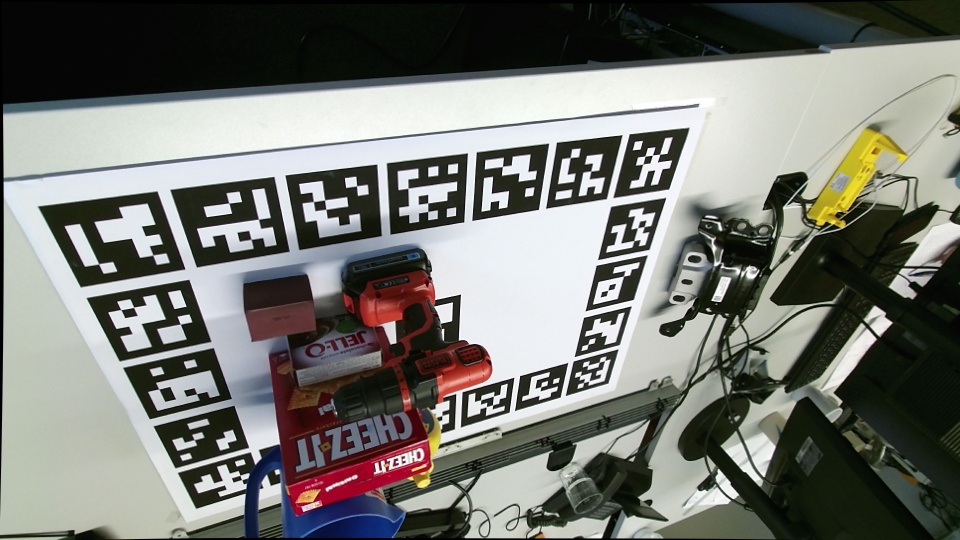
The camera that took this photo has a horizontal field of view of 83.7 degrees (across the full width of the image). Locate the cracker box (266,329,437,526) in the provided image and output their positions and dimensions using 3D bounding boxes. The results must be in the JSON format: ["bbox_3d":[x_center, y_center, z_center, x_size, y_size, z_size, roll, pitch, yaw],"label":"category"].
[{"bbox_3d":[-0.169,0.184,0.682,0.165,0.213,0.072,-14,130,-21],"label":"cracker box"}]

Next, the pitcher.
[{"bbox_3d":[-0.216,0.279,0.720,0.189,0.241,0.133,-7,126,-26],"label":"pitcher"}]

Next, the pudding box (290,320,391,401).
[{"bbox_3d":[-0.180,0.114,0.697,0.114,0.089,0.038,-12,129,-23],"label":"pudding box"}]

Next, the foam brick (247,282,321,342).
[{"bbox_3d":[-0.243,0.054,0.664,0.078,0.051,0.053,-9,125,-22],"label":"foam brick"}]

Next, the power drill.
[{"bbox_3d":[-0.093,0.089,0.632,0.185,0.186,0.057,-12,131,-19],"label":"power drill"}]

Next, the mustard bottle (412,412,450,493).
[{"bbox_3d":[-0.098,0.249,0.775,0.096,0.191,0.058,1,121,-28],"label":"mustard bottle"}]
